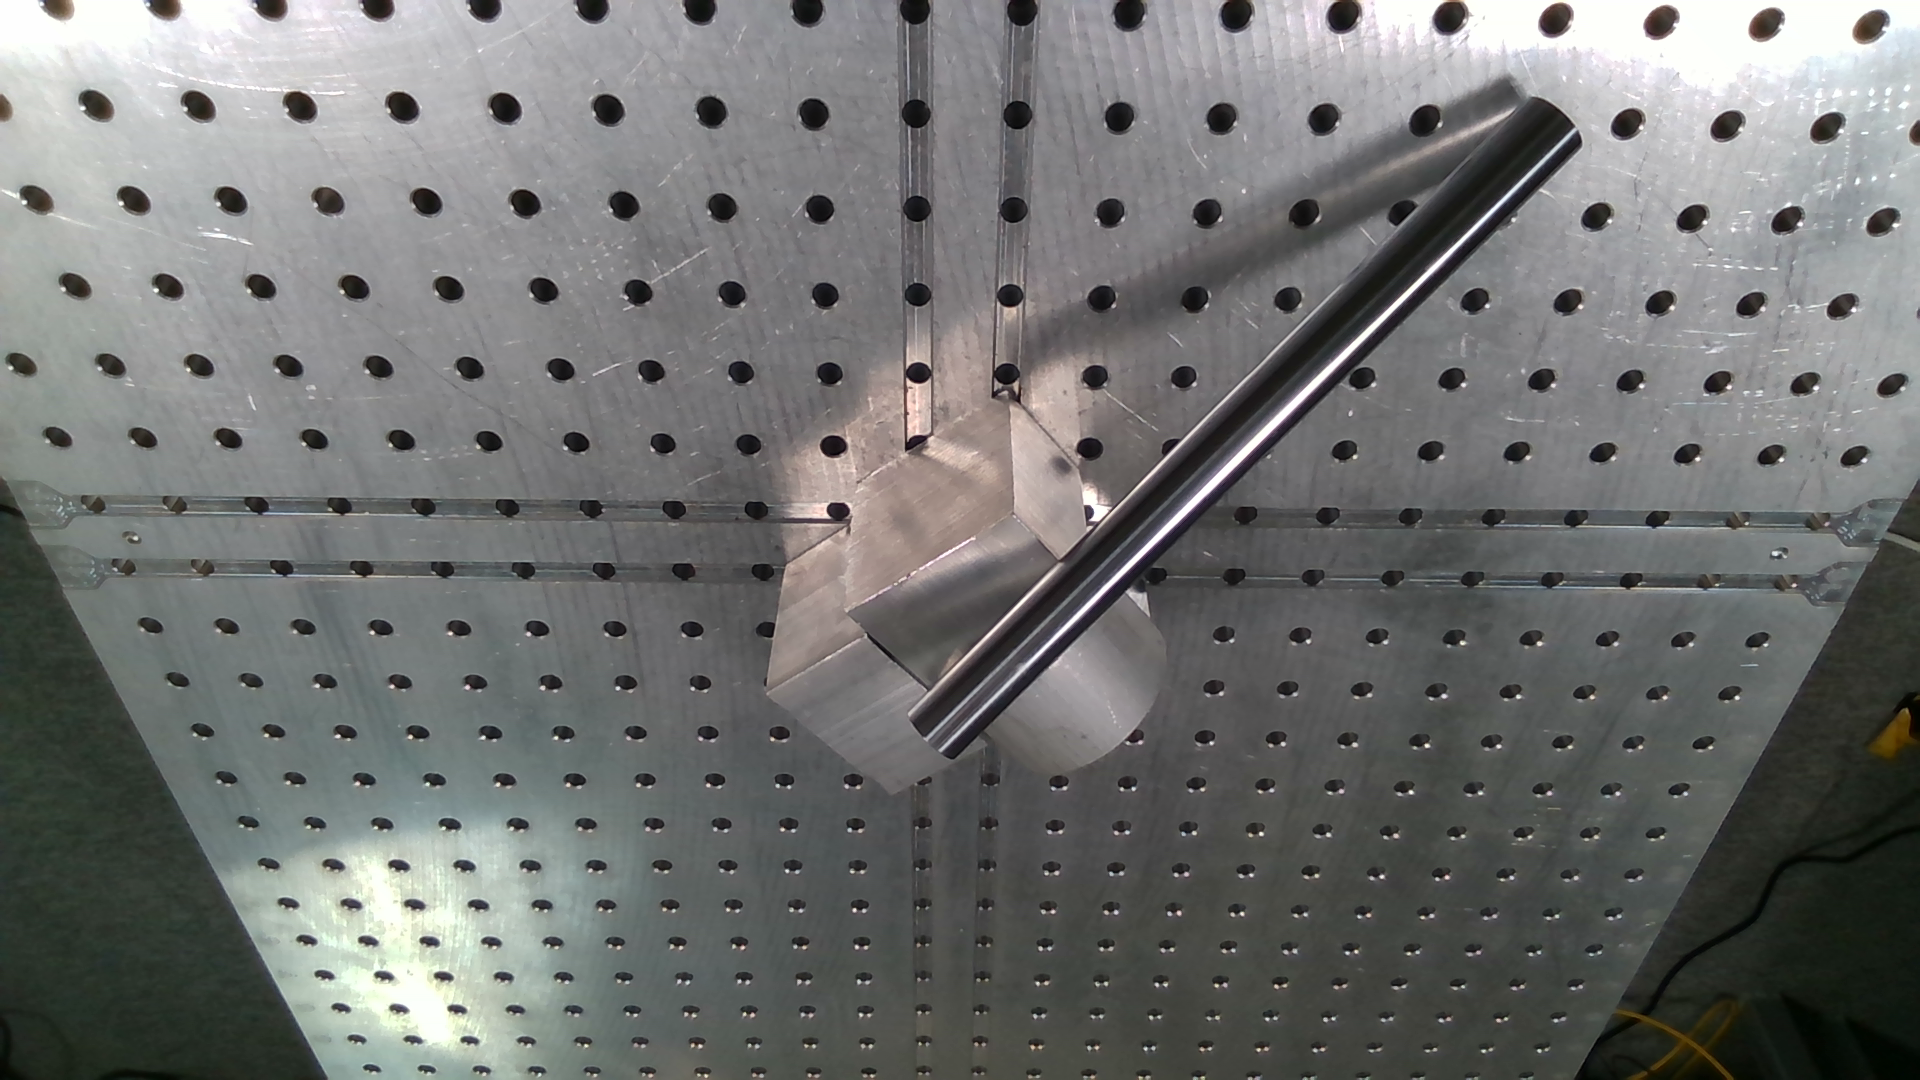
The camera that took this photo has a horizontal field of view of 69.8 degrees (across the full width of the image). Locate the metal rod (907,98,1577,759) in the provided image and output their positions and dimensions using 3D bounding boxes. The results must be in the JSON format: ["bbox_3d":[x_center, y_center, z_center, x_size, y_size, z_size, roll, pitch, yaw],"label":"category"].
[{"bbox_3d":[0.095,-0.035,0.485,0.300,0.025,0.025,-45,119,7],"label":"metal rod"}]

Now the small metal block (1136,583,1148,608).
[{"bbox_3d":[0.047,0.023,0.602,0.050,0.025,0.050,-34,122,25],"label":"small metal block"}]

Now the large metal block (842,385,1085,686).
[{"bbox_3d":[0.003,-0.002,0.546,0.080,0.080,0.050,-31,124,23],"label":"large metal block"}]

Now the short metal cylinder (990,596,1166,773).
[{"bbox_3d":[0.035,0.046,0.552,0.080,0.080,0.050,-30,124,23],"label":"short metal cylinder"}]

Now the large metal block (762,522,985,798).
[{"bbox_3d":[-0.034,0.048,0.584,0.050,0.080,0.080,-31,124,23],"label":"large metal block"}]
